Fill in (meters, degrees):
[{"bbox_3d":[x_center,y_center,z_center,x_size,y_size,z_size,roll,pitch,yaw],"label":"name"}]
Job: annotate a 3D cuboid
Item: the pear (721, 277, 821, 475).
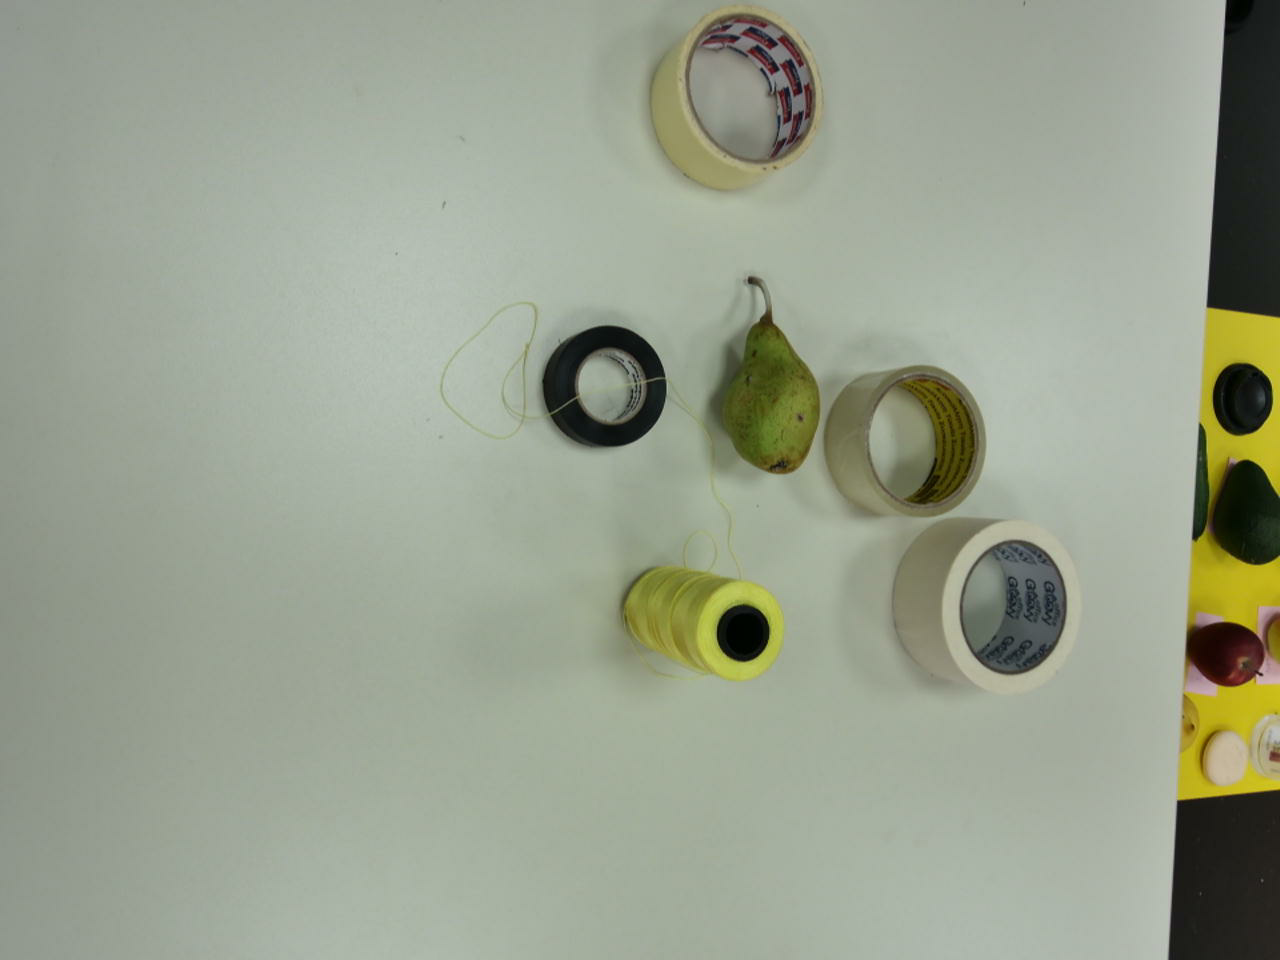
[{"bbox_3d":[0.081,-0.059,0.570,0.056,0.056,0.111,20,82,-21],"label":"pear"}]
